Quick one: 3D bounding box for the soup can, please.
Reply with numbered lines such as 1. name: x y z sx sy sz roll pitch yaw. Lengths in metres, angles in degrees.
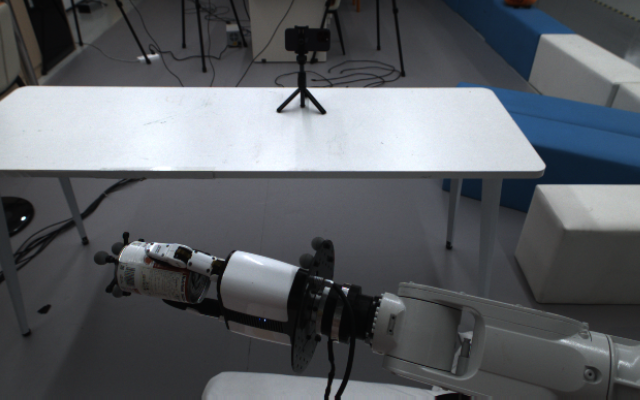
1. soup can: -0.196 0.094 0.617 0.101 0.067 0.067 8 35 10
